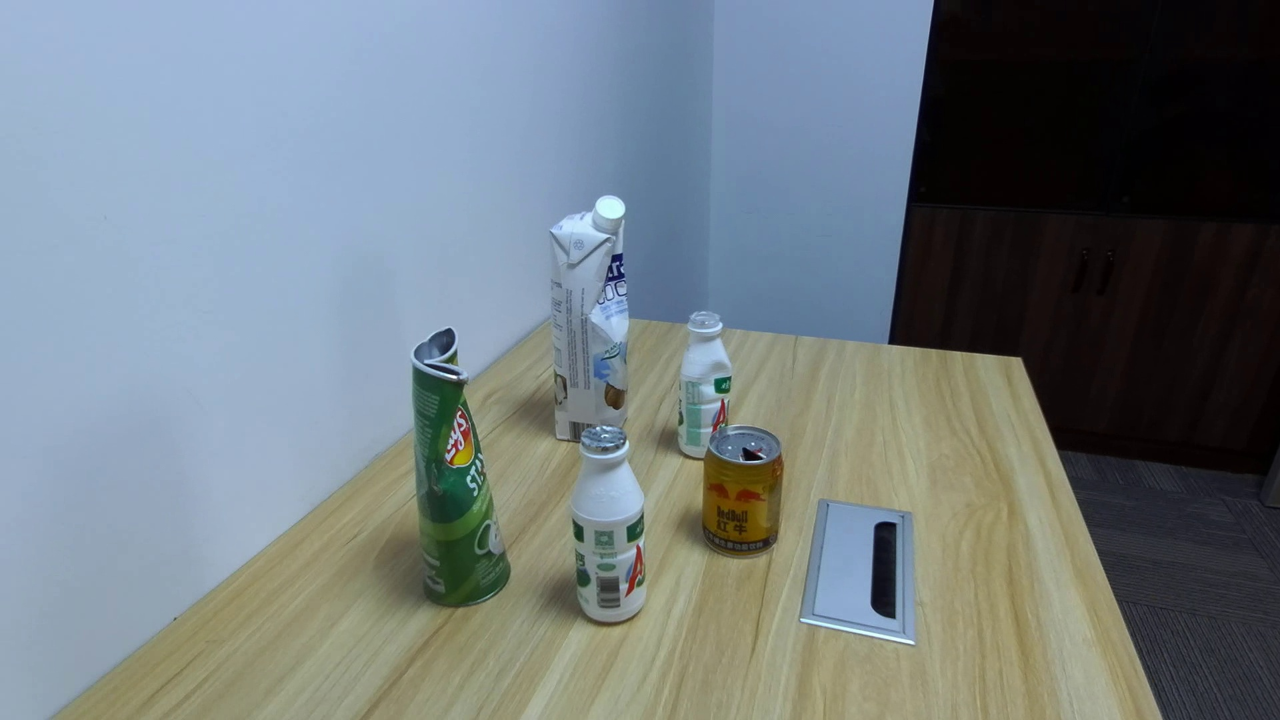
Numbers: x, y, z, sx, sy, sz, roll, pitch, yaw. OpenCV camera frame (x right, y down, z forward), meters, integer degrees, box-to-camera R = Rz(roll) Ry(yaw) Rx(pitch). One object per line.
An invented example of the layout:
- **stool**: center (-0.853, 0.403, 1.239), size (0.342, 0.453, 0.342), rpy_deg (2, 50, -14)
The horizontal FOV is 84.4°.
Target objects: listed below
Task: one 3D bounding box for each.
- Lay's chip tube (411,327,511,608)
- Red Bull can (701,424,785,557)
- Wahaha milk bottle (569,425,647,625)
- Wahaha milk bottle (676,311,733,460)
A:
- **Lay's chip tube**: center (-0.140, 0.084, 0.528), size (0.069, 0.201, 0.077), rpy_deg (-23, 35, -39)
- **Red Bull can**: center (0.085, 0.109, 0.590), size (0.067, 0.093, 0.067), rpy_deg (1, 24, 0)
- **Wahaha milk bottle**: center (-0.022, 0.118, 0.507), size (0.053, 0.147, 0.053), rpy_deg (0, 25, 0)
- **Wahaha milk bottle**: center (0.065, 0.026, 0.705), size (0.055, 0.149, 0.055), rpy_deg (0, 27, 0)
